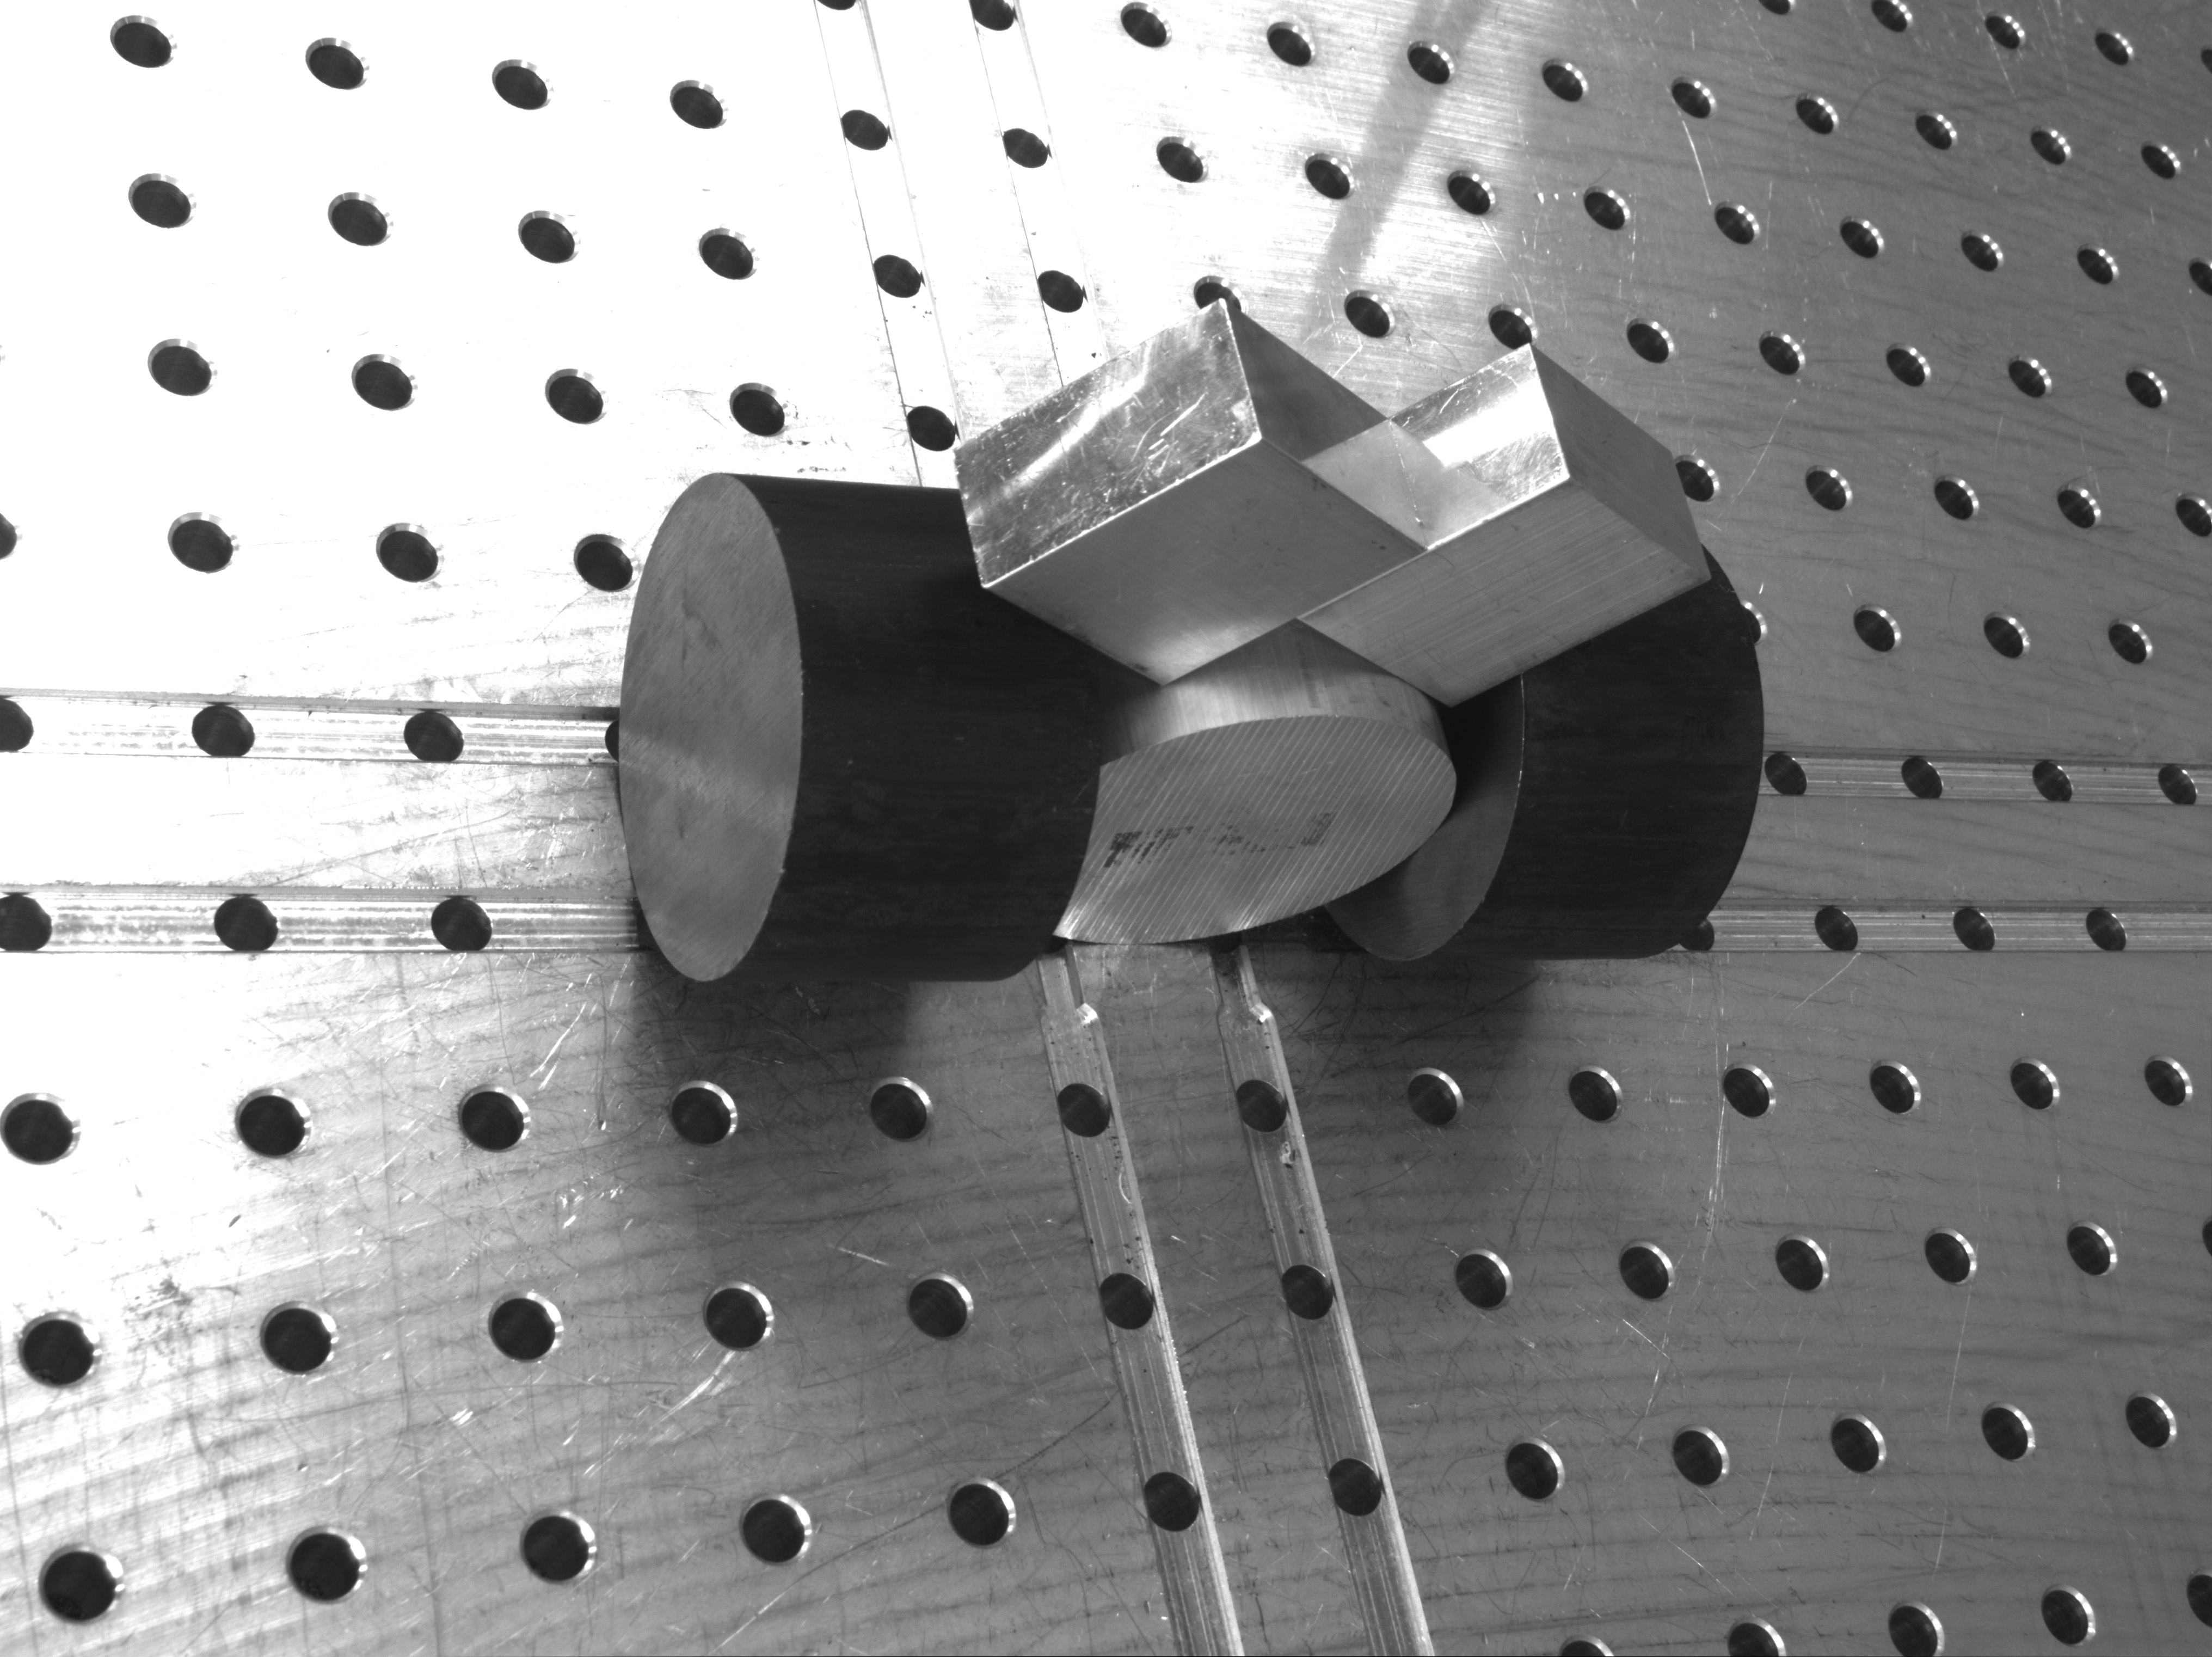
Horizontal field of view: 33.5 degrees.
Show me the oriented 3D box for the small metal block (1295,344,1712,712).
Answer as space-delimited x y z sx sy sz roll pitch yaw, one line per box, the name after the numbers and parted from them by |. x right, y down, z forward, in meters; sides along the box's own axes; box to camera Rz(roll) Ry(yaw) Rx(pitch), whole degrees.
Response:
0.061 -0.047 0.589 0.050 0.050 0.025 25 45 -53 | small metal block

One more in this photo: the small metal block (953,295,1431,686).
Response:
0.013 -0.050 0.560 0.050 0.050 0.025 26 45 -53 | small metal block

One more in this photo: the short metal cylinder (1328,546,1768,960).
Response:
0.073 -0.017 0.656 0.050 0.080 0.080 0 61 -27 | short metal cylinder

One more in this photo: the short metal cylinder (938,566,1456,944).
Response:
0.015 -0.021 0.628 0.080 0.080 0.050 1 61 -27 | short metal cylinder

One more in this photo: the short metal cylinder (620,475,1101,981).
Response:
-0.041 -0.015 0.594 0.050 0.080 0.080 1 61 -27 | short metal cylinder
